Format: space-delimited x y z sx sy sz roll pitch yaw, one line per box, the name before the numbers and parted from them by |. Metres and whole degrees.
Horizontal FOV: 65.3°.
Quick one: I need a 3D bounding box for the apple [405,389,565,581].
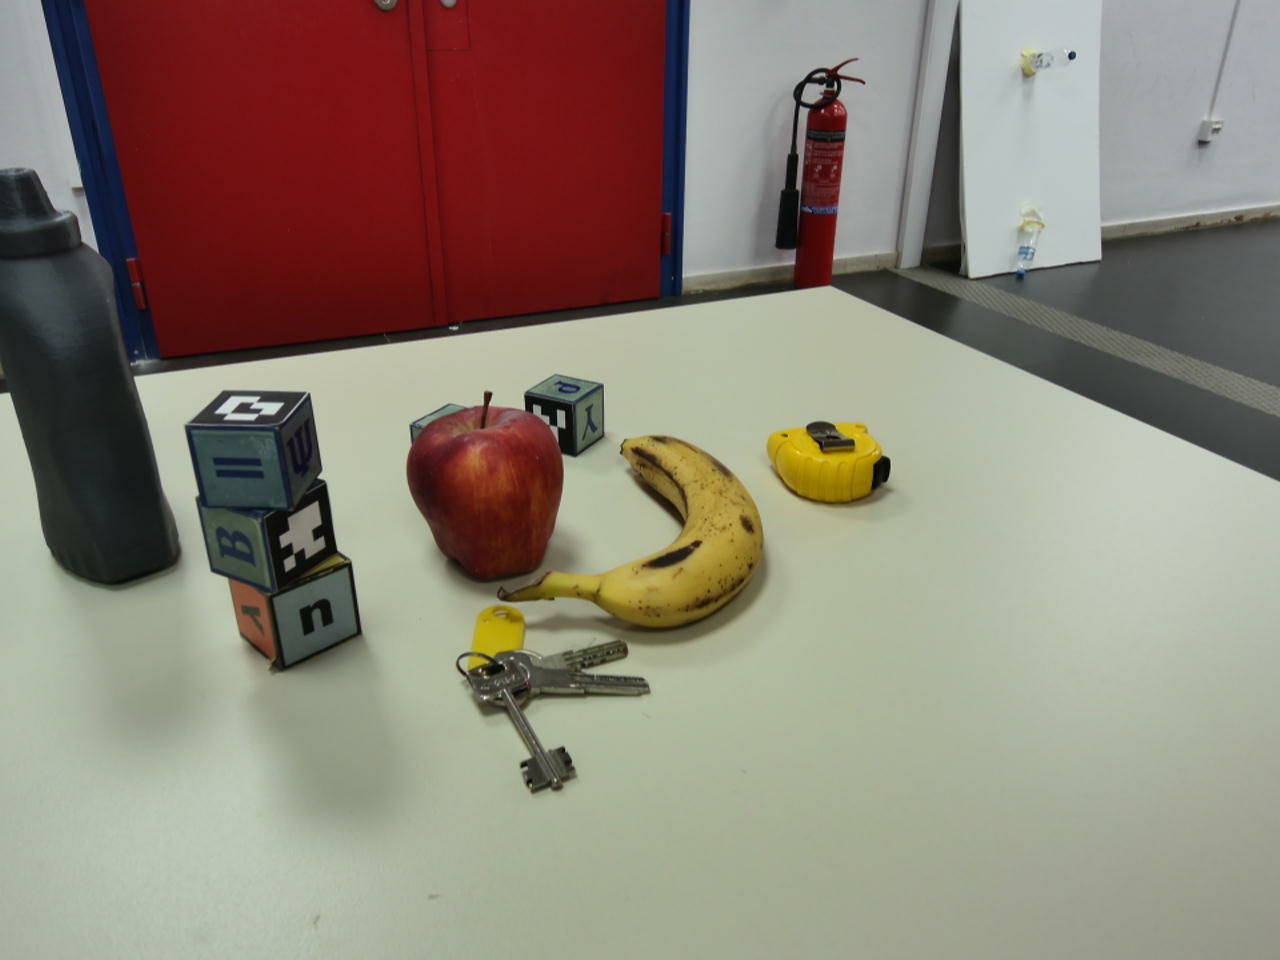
apple | -0.077 -0.001 0.499 0.083 0.090 0.083 0 25 0
